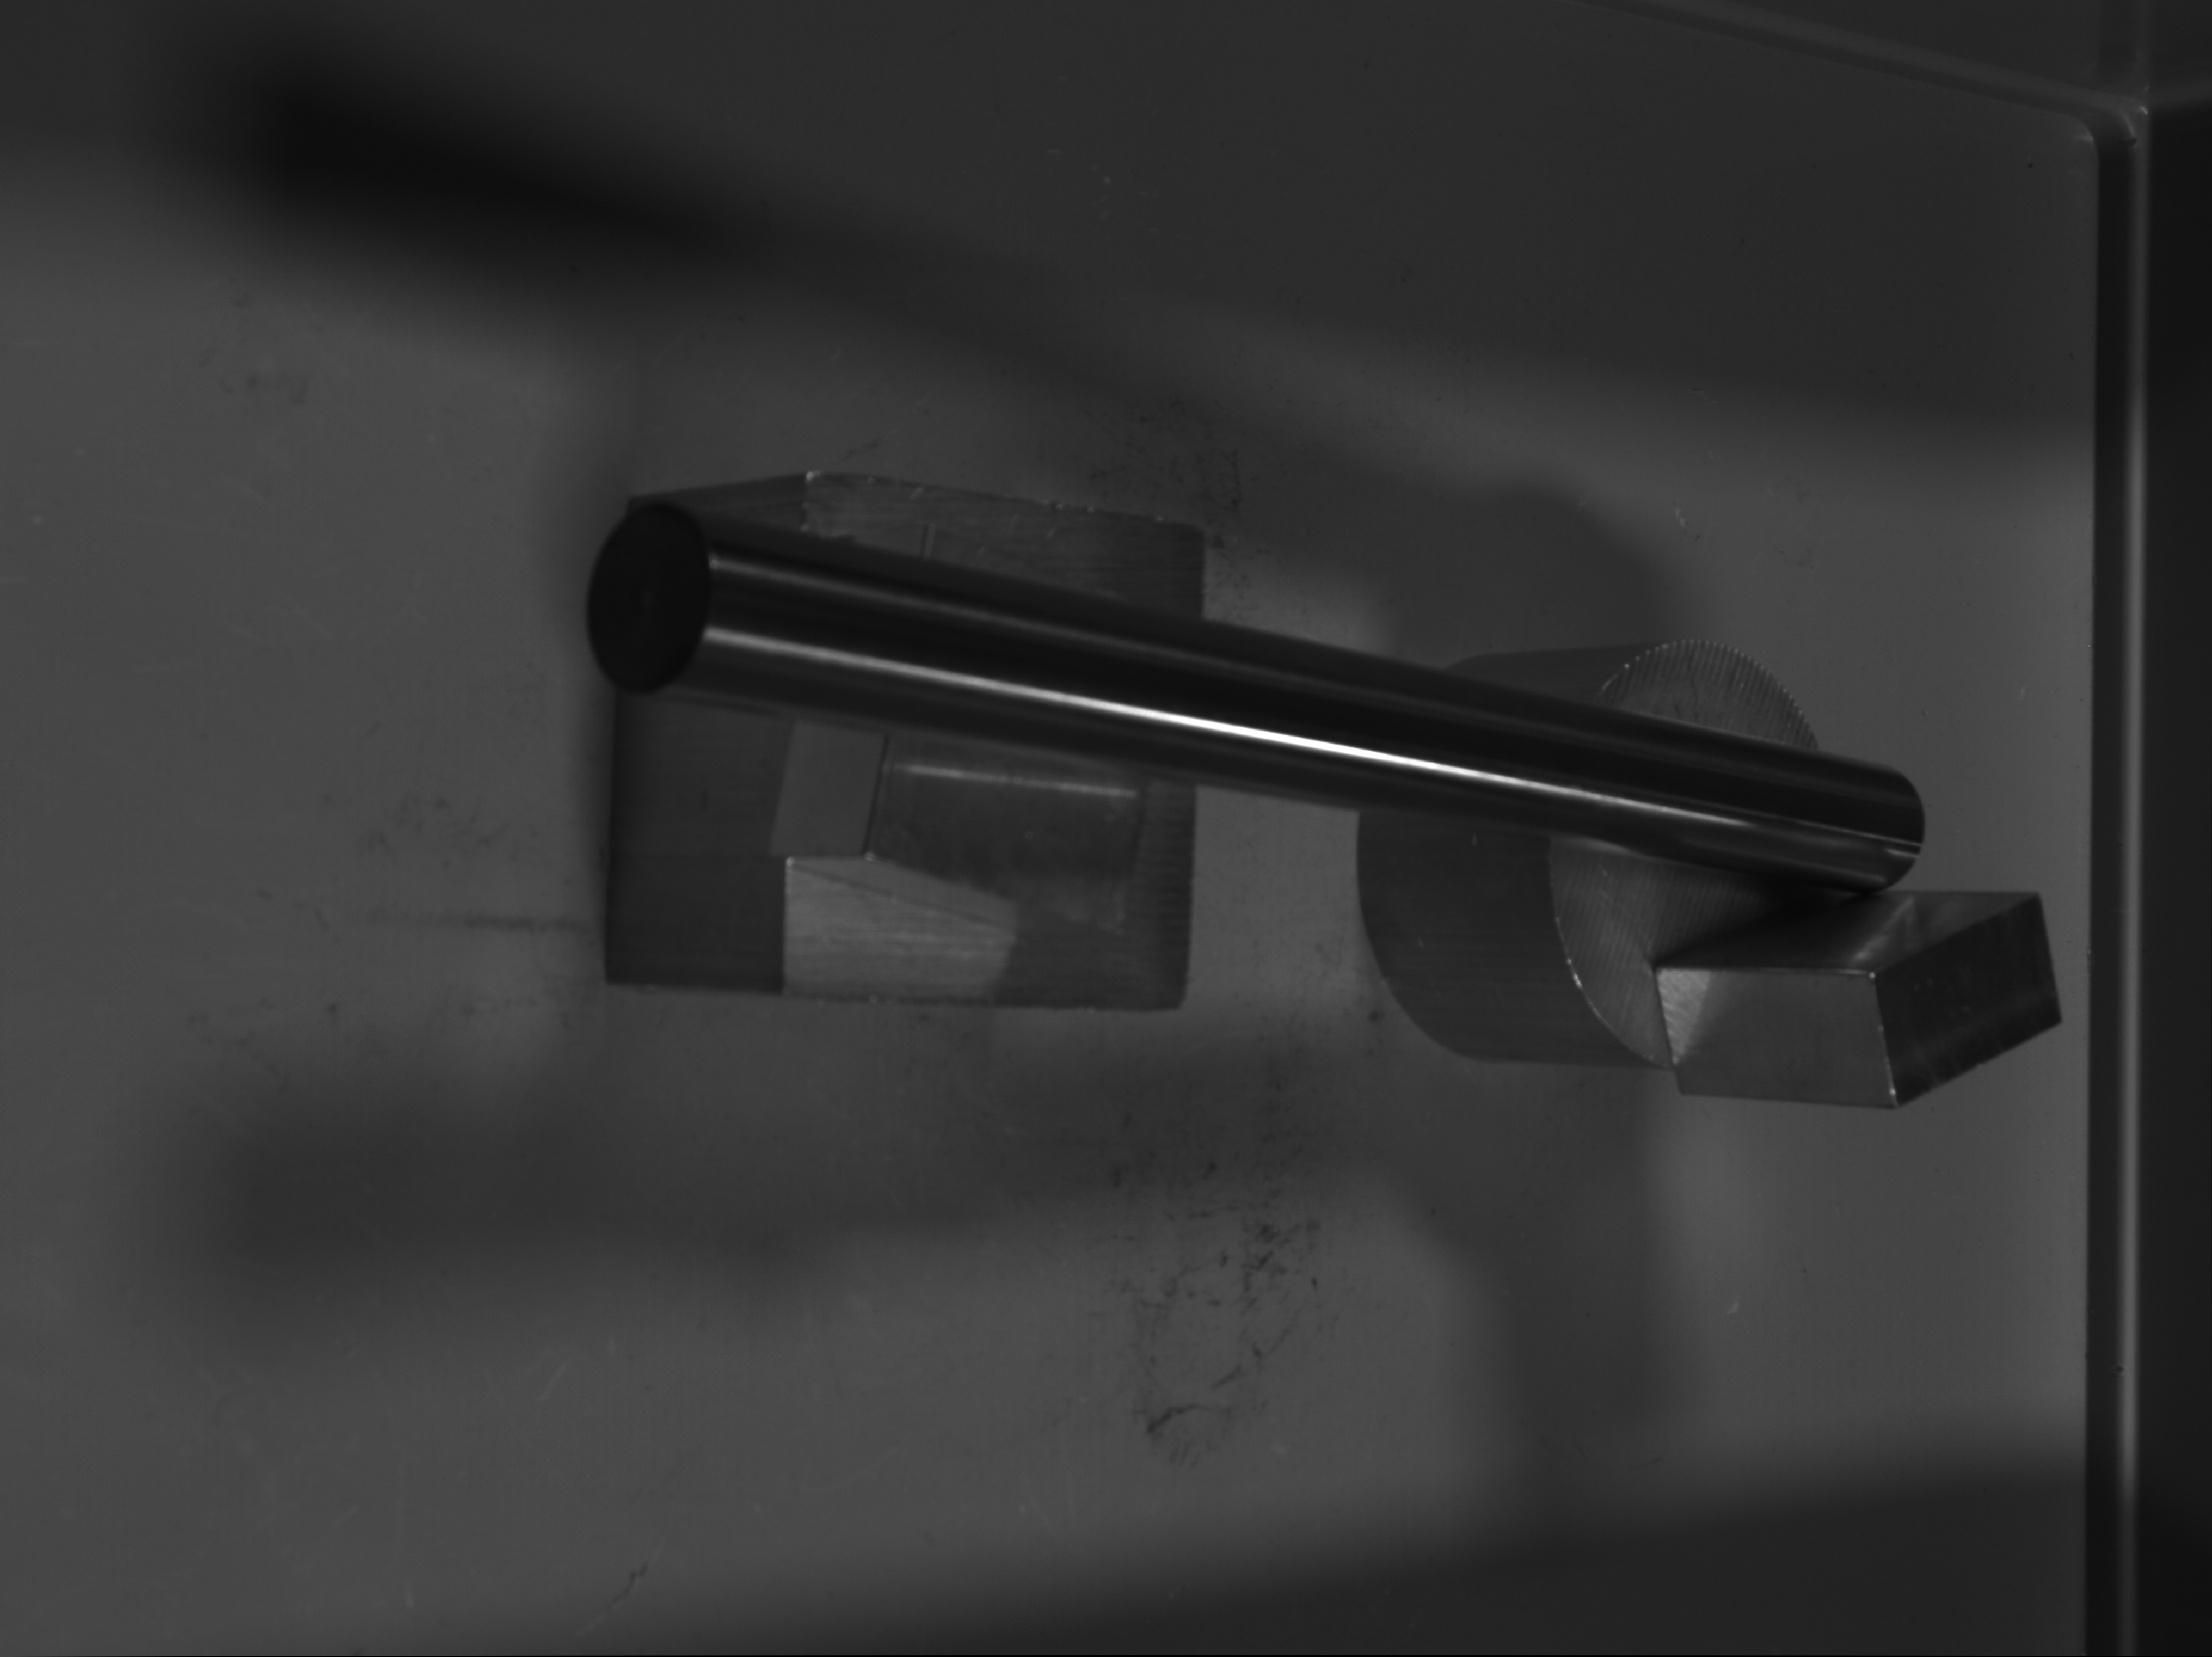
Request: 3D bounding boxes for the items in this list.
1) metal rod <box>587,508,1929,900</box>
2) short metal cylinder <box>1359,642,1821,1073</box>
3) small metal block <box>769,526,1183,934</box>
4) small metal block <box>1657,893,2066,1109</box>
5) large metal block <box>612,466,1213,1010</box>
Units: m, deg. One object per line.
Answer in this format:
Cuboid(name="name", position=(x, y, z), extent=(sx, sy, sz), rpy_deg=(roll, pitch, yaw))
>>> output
Cuboid(name="metal rod", position=(0.043, -0.014, 0.580), extent=(0.301, 0.025, 0.025), rpy_deg=(8, 84, -47))
Cuboid(name="short metal cylinder", position=(0.094, 0.006, 0.698), extent=(0.080, 0.050, 0.080), rpy_deg=(0, 90, -40))
Cuboid(name="small metal block", position=(-0.019, -0.014, 0.555), extent=(0.050, 0.025, 0.050), rpy_deg=(17, 79, -39))
Cuboid(name="small metal block", position=(0.138, 0.030, 0.668), extent=(0.050, 0.050, 0.025), rpy_deg=(-19, 102, -38))
Cuboid(name="large metal block", position=(-0.031, -0.012, 0.592), extent=(0.080, 0.050, 0.080), rpy_deg=(4, 88, -40))
